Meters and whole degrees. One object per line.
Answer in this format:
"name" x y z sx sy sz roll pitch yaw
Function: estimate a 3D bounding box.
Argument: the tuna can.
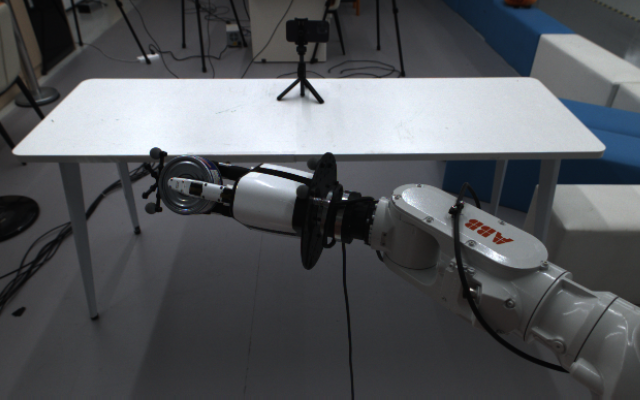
"tuna can" -0.182 -0.018 0.684 0.085 0.085 0.034 10 4 11
